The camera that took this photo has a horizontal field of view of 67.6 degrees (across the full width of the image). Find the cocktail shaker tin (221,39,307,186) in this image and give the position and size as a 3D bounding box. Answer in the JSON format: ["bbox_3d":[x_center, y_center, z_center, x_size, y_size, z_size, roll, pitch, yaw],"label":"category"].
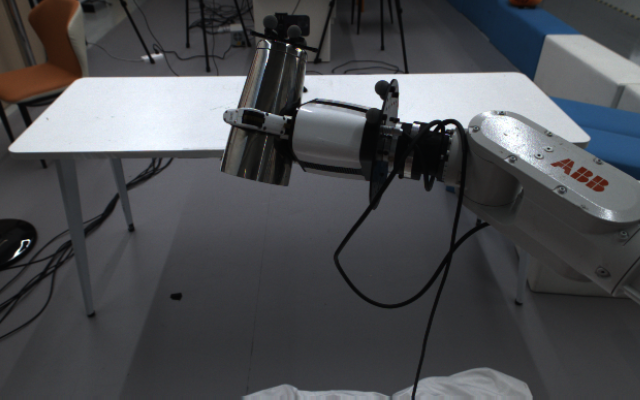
[{"bbox_3d":[-0.066,-0.111,0.623,0.093,0.170,0.093,13,4,-1],"label":"cocktail shaker tin"}]
